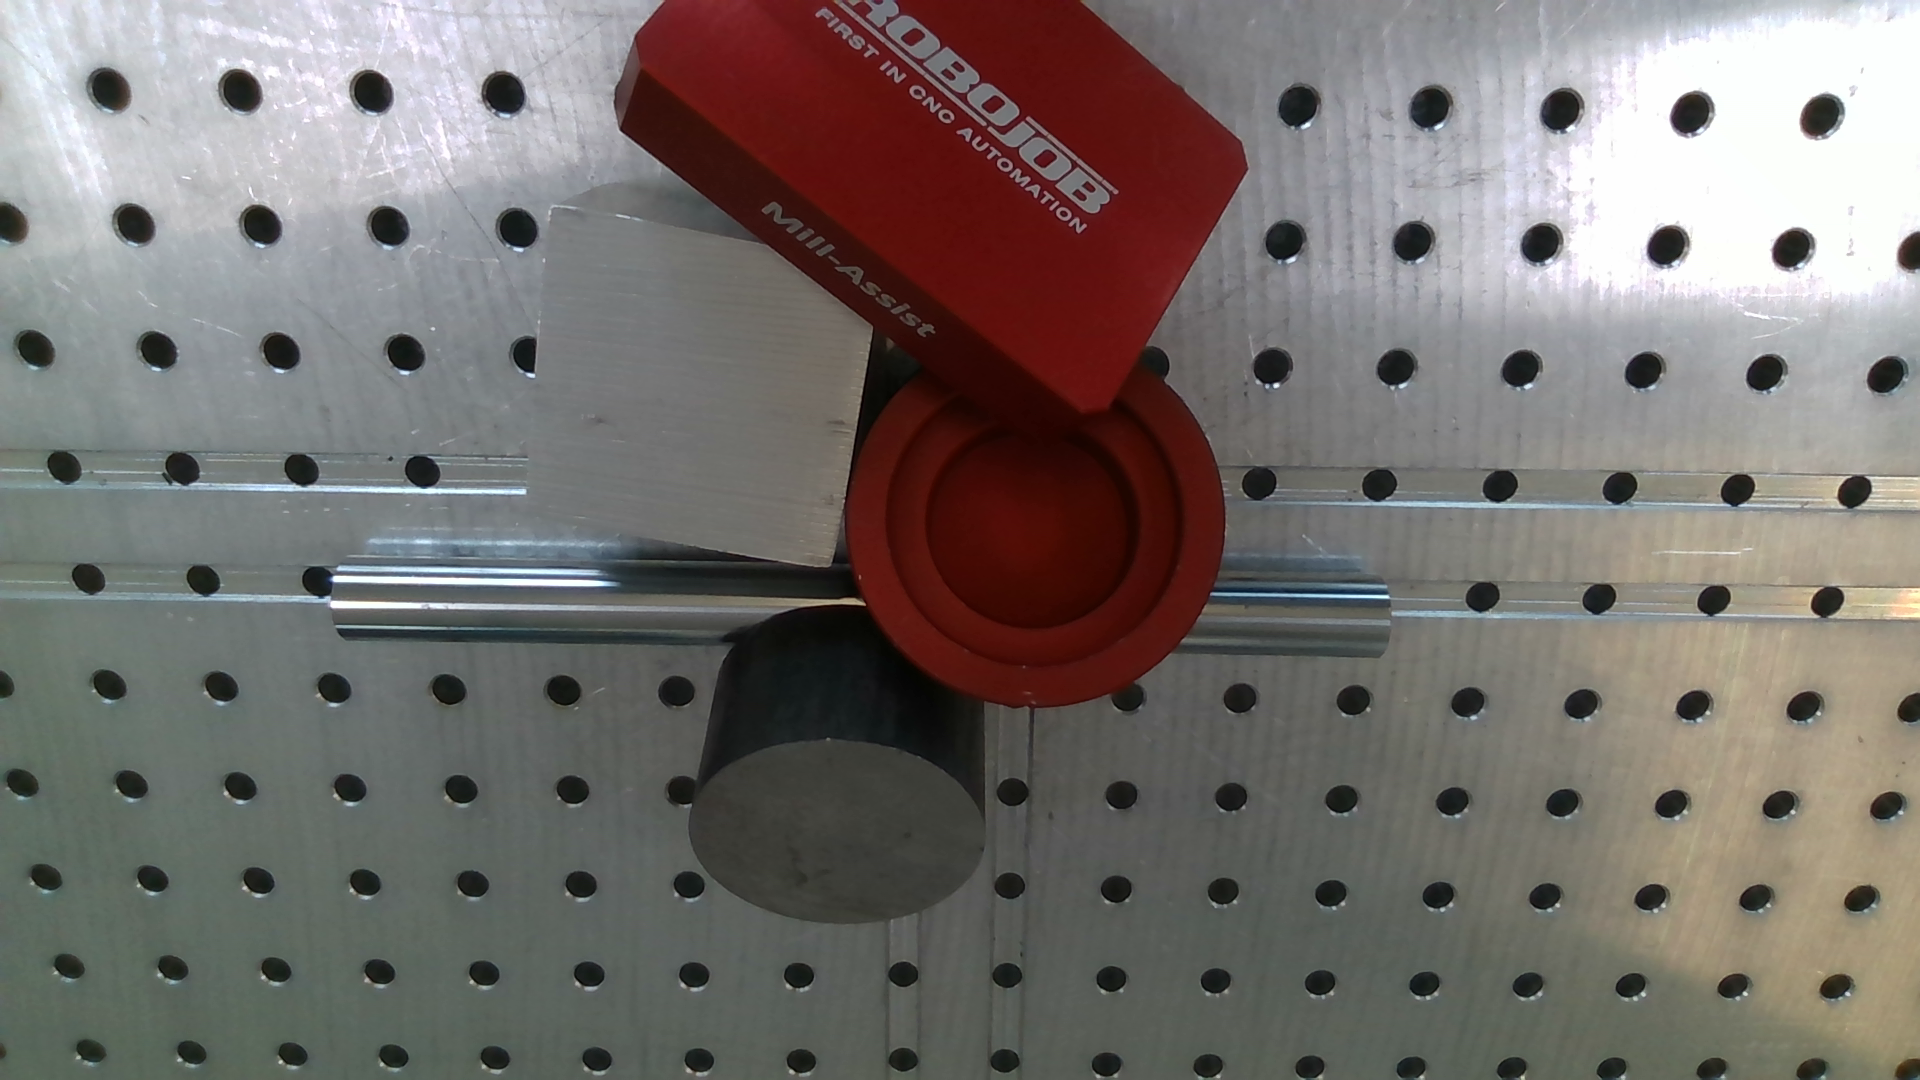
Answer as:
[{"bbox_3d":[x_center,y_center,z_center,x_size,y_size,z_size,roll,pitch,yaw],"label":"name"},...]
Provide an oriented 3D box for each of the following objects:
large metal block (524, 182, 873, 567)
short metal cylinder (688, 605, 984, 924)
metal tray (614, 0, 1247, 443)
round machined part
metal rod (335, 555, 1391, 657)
[{"bbox_3d":[-0.065,-0.045,0.366,0.080,0.050,0.080,10,110,-4],"label":"large metal block"},{"bbox_3d":[-0.034,0.065,0.393,0.080,0.050,0.080,0,130,0],"label":"short metal cylinder"},{"bbox_3d":[-0.003,-0.097,0.332,0.130,0.030,0.090,36,68,-12],"label":"metal tray"},{"bbox_3d":[0.019,-0.004,0.372,0.098,0.042,0.098,0,85,-1],"label":"round machined part"},{"bbox_3d":[-0.027,0.019,0.404,0.300,0.025,0.025,1,110,0],"label":"metal rod"}]
